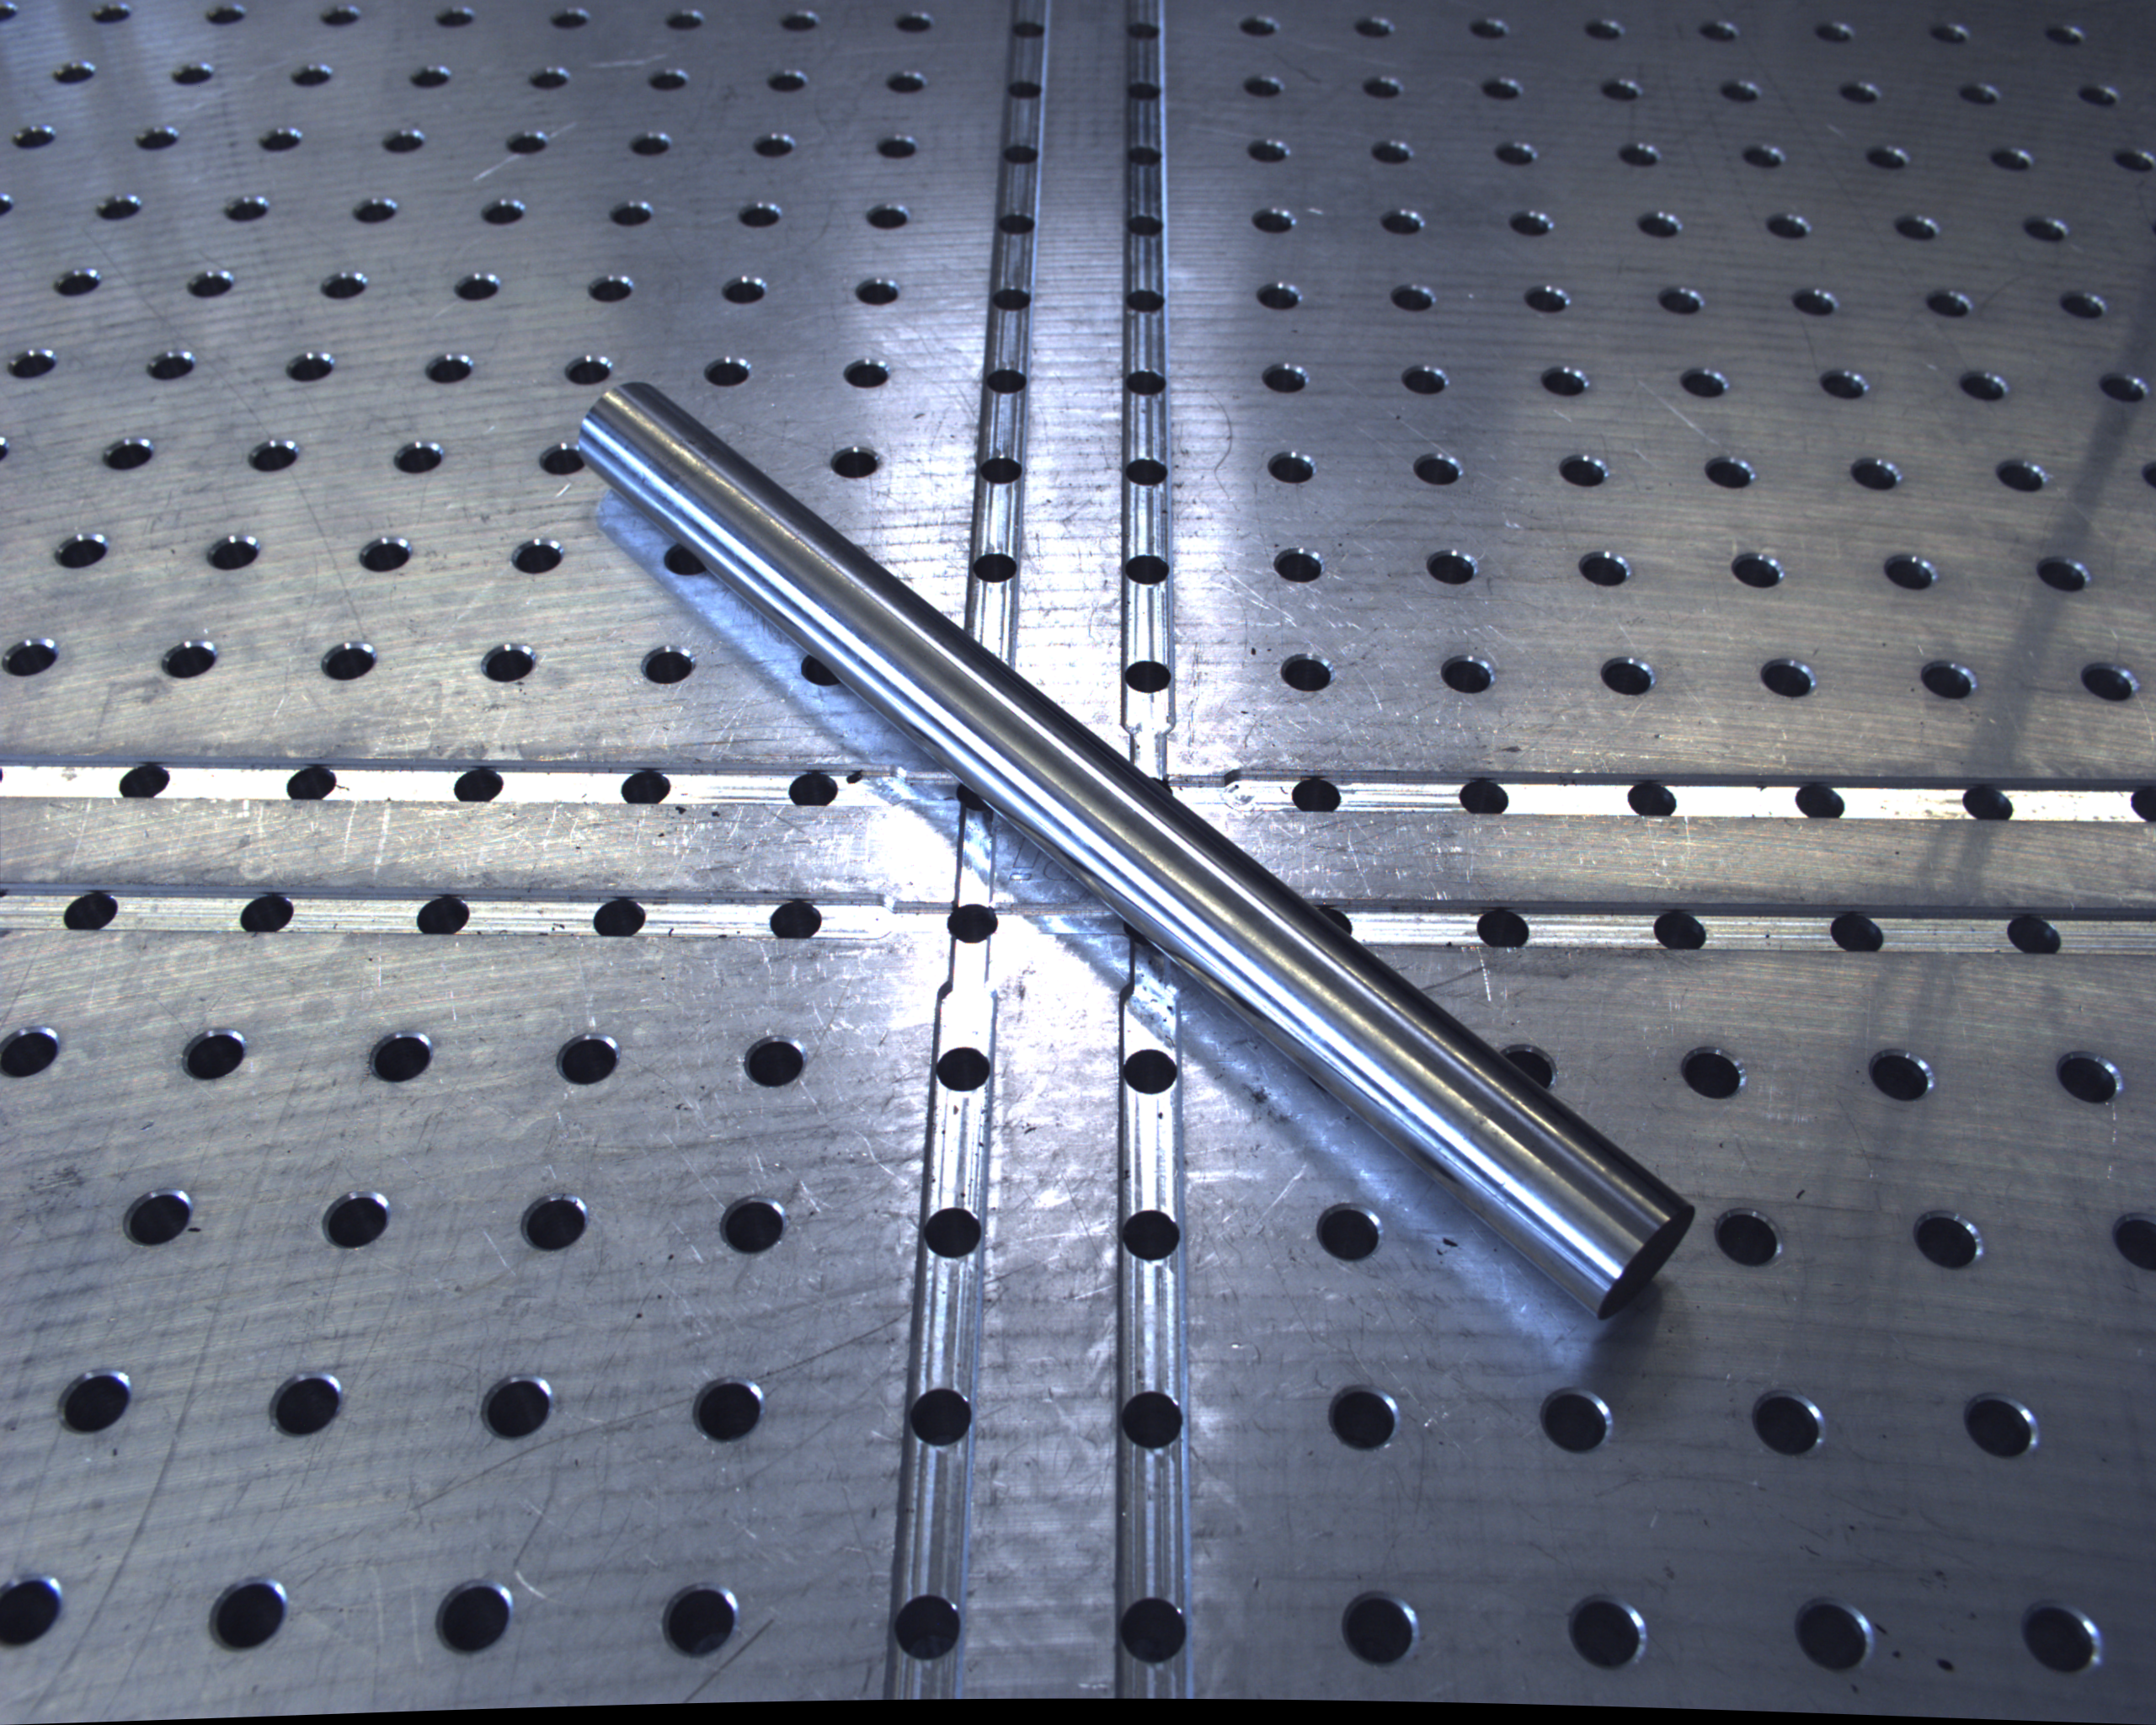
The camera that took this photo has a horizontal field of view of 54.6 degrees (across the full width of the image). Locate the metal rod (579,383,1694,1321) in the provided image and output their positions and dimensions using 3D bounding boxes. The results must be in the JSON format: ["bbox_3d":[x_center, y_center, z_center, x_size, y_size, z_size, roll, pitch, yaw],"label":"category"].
[{"bbox_3d":[-0.006,-0.017,0.423,0.025,0.025,0.300,-35,58,-26],"label":"metal rod"}]
